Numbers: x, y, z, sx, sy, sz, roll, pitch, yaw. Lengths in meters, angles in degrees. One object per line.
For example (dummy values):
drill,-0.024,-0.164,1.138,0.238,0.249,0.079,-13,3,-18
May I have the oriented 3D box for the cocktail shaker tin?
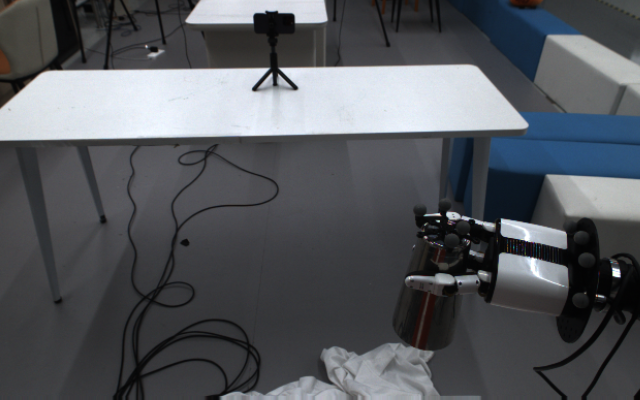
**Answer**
cocktail shaker tin,0.160,0.111,0.671,0.093,0.170,0.093,2,33,-1
